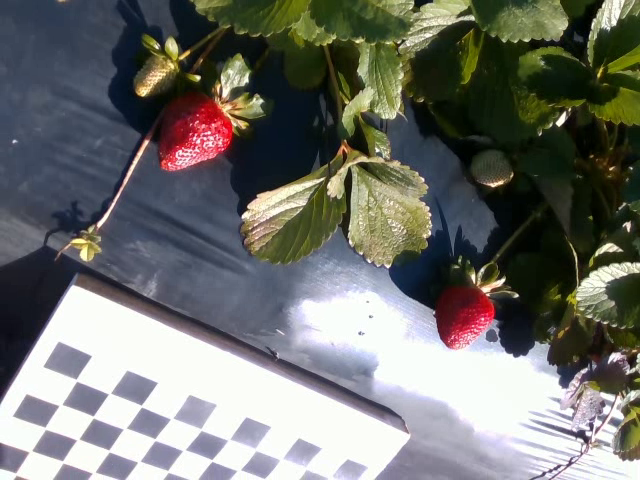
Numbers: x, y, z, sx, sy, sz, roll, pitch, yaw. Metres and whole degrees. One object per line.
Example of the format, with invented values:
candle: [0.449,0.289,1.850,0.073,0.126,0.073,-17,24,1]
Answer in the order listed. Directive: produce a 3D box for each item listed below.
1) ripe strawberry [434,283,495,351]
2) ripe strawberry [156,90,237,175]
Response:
ripe strawberry: [0.091,0.055,0.383,0.043,0.042,0.050,5,40,37]
ripe strawberry: [-0.070,-0.055,0.312,0.042,0.053,0.043,41,-29,-28]
